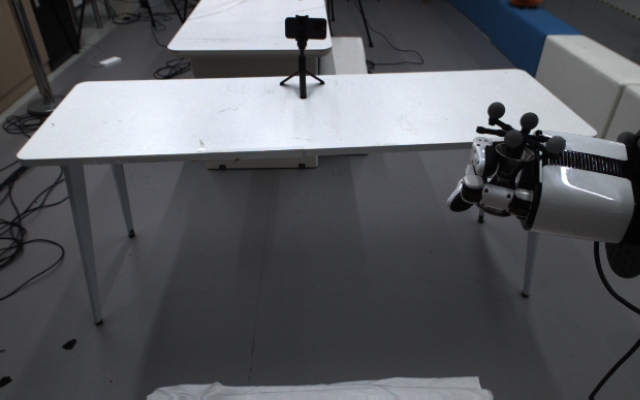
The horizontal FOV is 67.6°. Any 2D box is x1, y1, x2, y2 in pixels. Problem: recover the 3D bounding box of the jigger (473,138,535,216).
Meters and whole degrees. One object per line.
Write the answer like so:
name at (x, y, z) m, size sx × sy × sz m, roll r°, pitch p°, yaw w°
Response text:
jigger at (0.198, -0.022, 0.521) m, size 0.043 × 0.071 × 0.043 m, roll 7°, pitch 32°, yaw -4°
